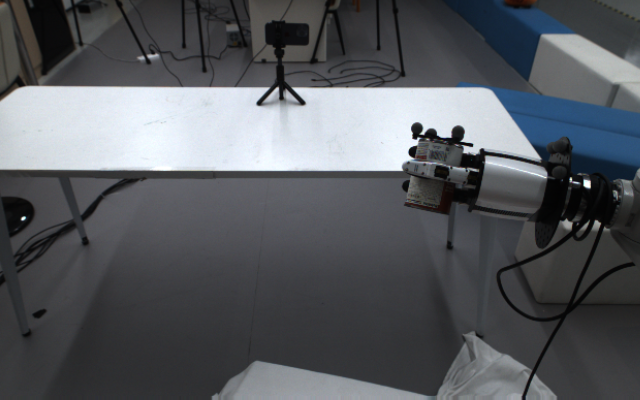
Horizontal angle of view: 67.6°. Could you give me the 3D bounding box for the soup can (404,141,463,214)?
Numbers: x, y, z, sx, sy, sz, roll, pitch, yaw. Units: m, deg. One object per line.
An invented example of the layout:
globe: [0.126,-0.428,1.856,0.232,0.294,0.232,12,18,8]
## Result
soup can: [0.169,-0.035,0.714,0.067,0.101,0.067,12,2,0]
